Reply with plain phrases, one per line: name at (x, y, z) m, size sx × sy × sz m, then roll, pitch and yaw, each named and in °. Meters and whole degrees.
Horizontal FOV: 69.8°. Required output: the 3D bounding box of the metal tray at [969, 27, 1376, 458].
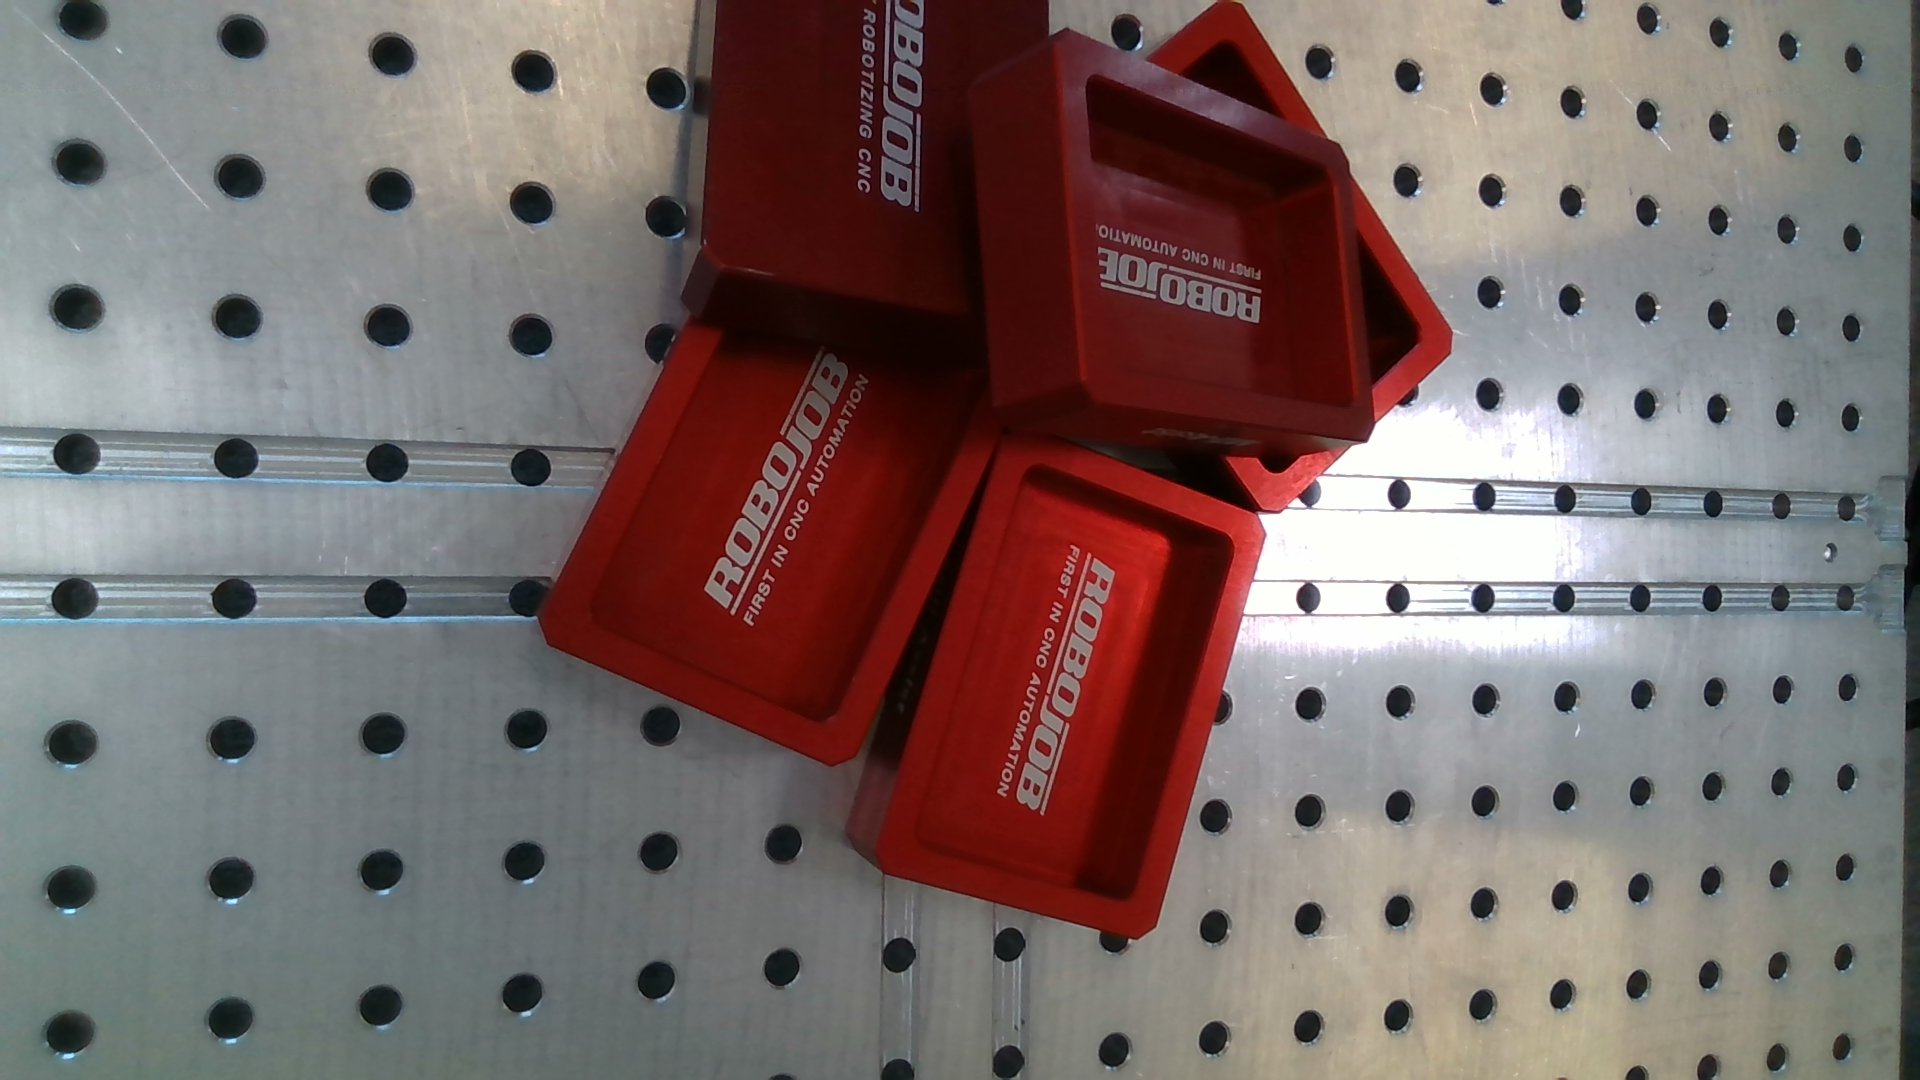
metal tray at (0.062, -0.073, 0.371) m, size 0.130 × 0.030 × 0.090 m, roll 2°, pitch 81°, yaw -44°

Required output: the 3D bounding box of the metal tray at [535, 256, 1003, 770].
metal tray at (-0.047, -0.015, 0.375) m, size 0.090 × 0.030 × 0.130 m, roll 27°, pitch 81°, yaw -18°

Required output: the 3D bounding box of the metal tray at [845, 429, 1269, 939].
metal tray at (0.030, 0.041, 0.403) m, size 0.090 × 0.030 × 0.130 m, roll 19°, pitch 84°, yaw -19°

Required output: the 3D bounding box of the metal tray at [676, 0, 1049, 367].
metal tray at (-0.023, -0.117, 0.367) m, size 0.090 × 0.030 × 0.130 m, roll 7°, pitch 73°, yaw -19°

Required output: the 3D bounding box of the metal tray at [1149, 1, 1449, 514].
metal tray at (0.081, -0.083, 0.422) m, size 0.090 × 0.030 × 0.130 m, roll -42°, pitch 103°, yaw -16°
